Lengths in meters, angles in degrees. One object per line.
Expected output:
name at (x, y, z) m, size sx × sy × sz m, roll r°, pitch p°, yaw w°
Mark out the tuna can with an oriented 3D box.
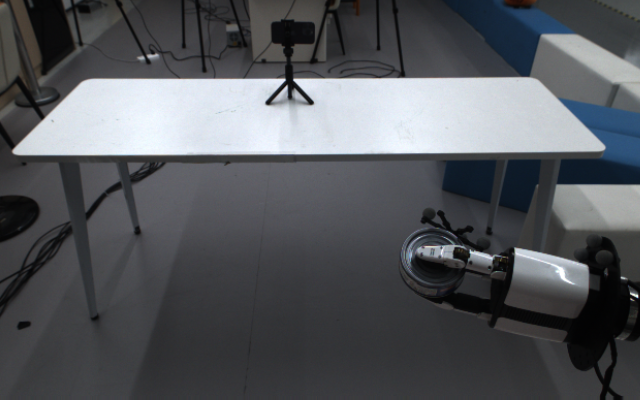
tuna can at (0.149, 0.085, 0.616) m, size 0.085 × 0.034 × 0.085 m, roll -4°, pitch 58°, yaw 6°
